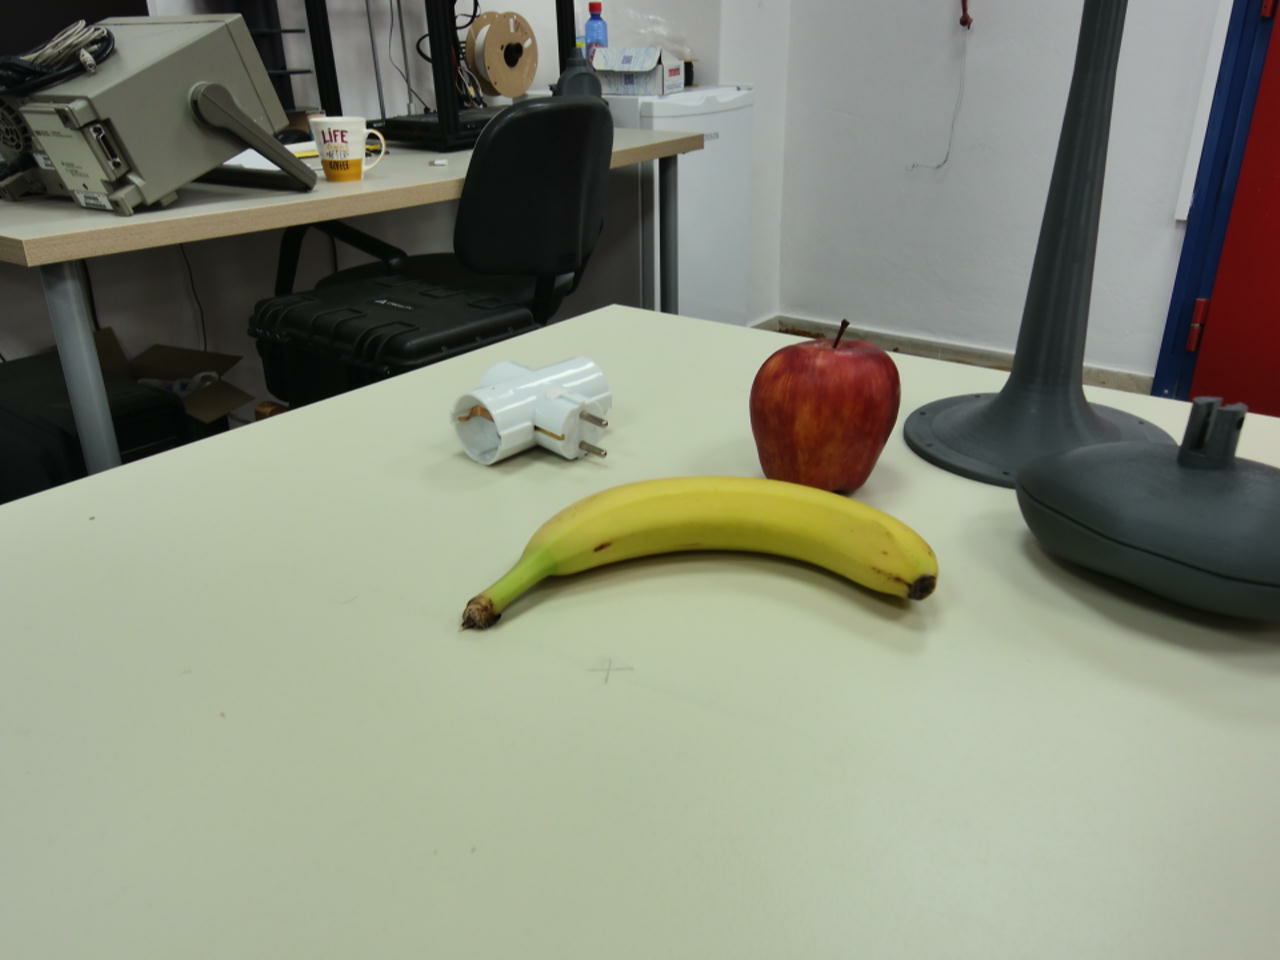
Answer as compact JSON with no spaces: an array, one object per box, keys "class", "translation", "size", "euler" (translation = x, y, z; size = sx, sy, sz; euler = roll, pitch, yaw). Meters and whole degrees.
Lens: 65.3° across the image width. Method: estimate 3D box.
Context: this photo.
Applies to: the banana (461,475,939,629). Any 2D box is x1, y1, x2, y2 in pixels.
[{"class":"banana","translation":[0.026,0.028,0.446],"size":[0.196,0.041,0.094],"euler":[1,23,3]}]
